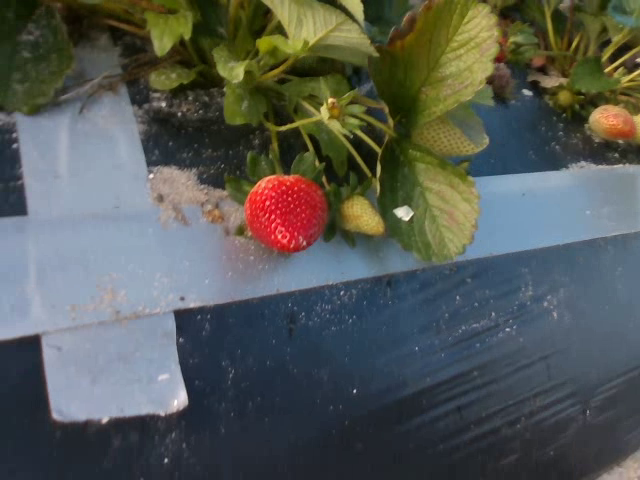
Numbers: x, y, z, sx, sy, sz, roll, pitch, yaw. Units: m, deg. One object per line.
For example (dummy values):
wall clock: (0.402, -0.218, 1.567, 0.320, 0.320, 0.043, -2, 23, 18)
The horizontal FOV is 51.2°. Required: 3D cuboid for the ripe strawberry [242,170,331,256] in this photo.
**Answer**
ripe strawberry: (-0.006, -0.005, 0.141, 0.023, 0.021, 0.026, -5, 35, -7)
